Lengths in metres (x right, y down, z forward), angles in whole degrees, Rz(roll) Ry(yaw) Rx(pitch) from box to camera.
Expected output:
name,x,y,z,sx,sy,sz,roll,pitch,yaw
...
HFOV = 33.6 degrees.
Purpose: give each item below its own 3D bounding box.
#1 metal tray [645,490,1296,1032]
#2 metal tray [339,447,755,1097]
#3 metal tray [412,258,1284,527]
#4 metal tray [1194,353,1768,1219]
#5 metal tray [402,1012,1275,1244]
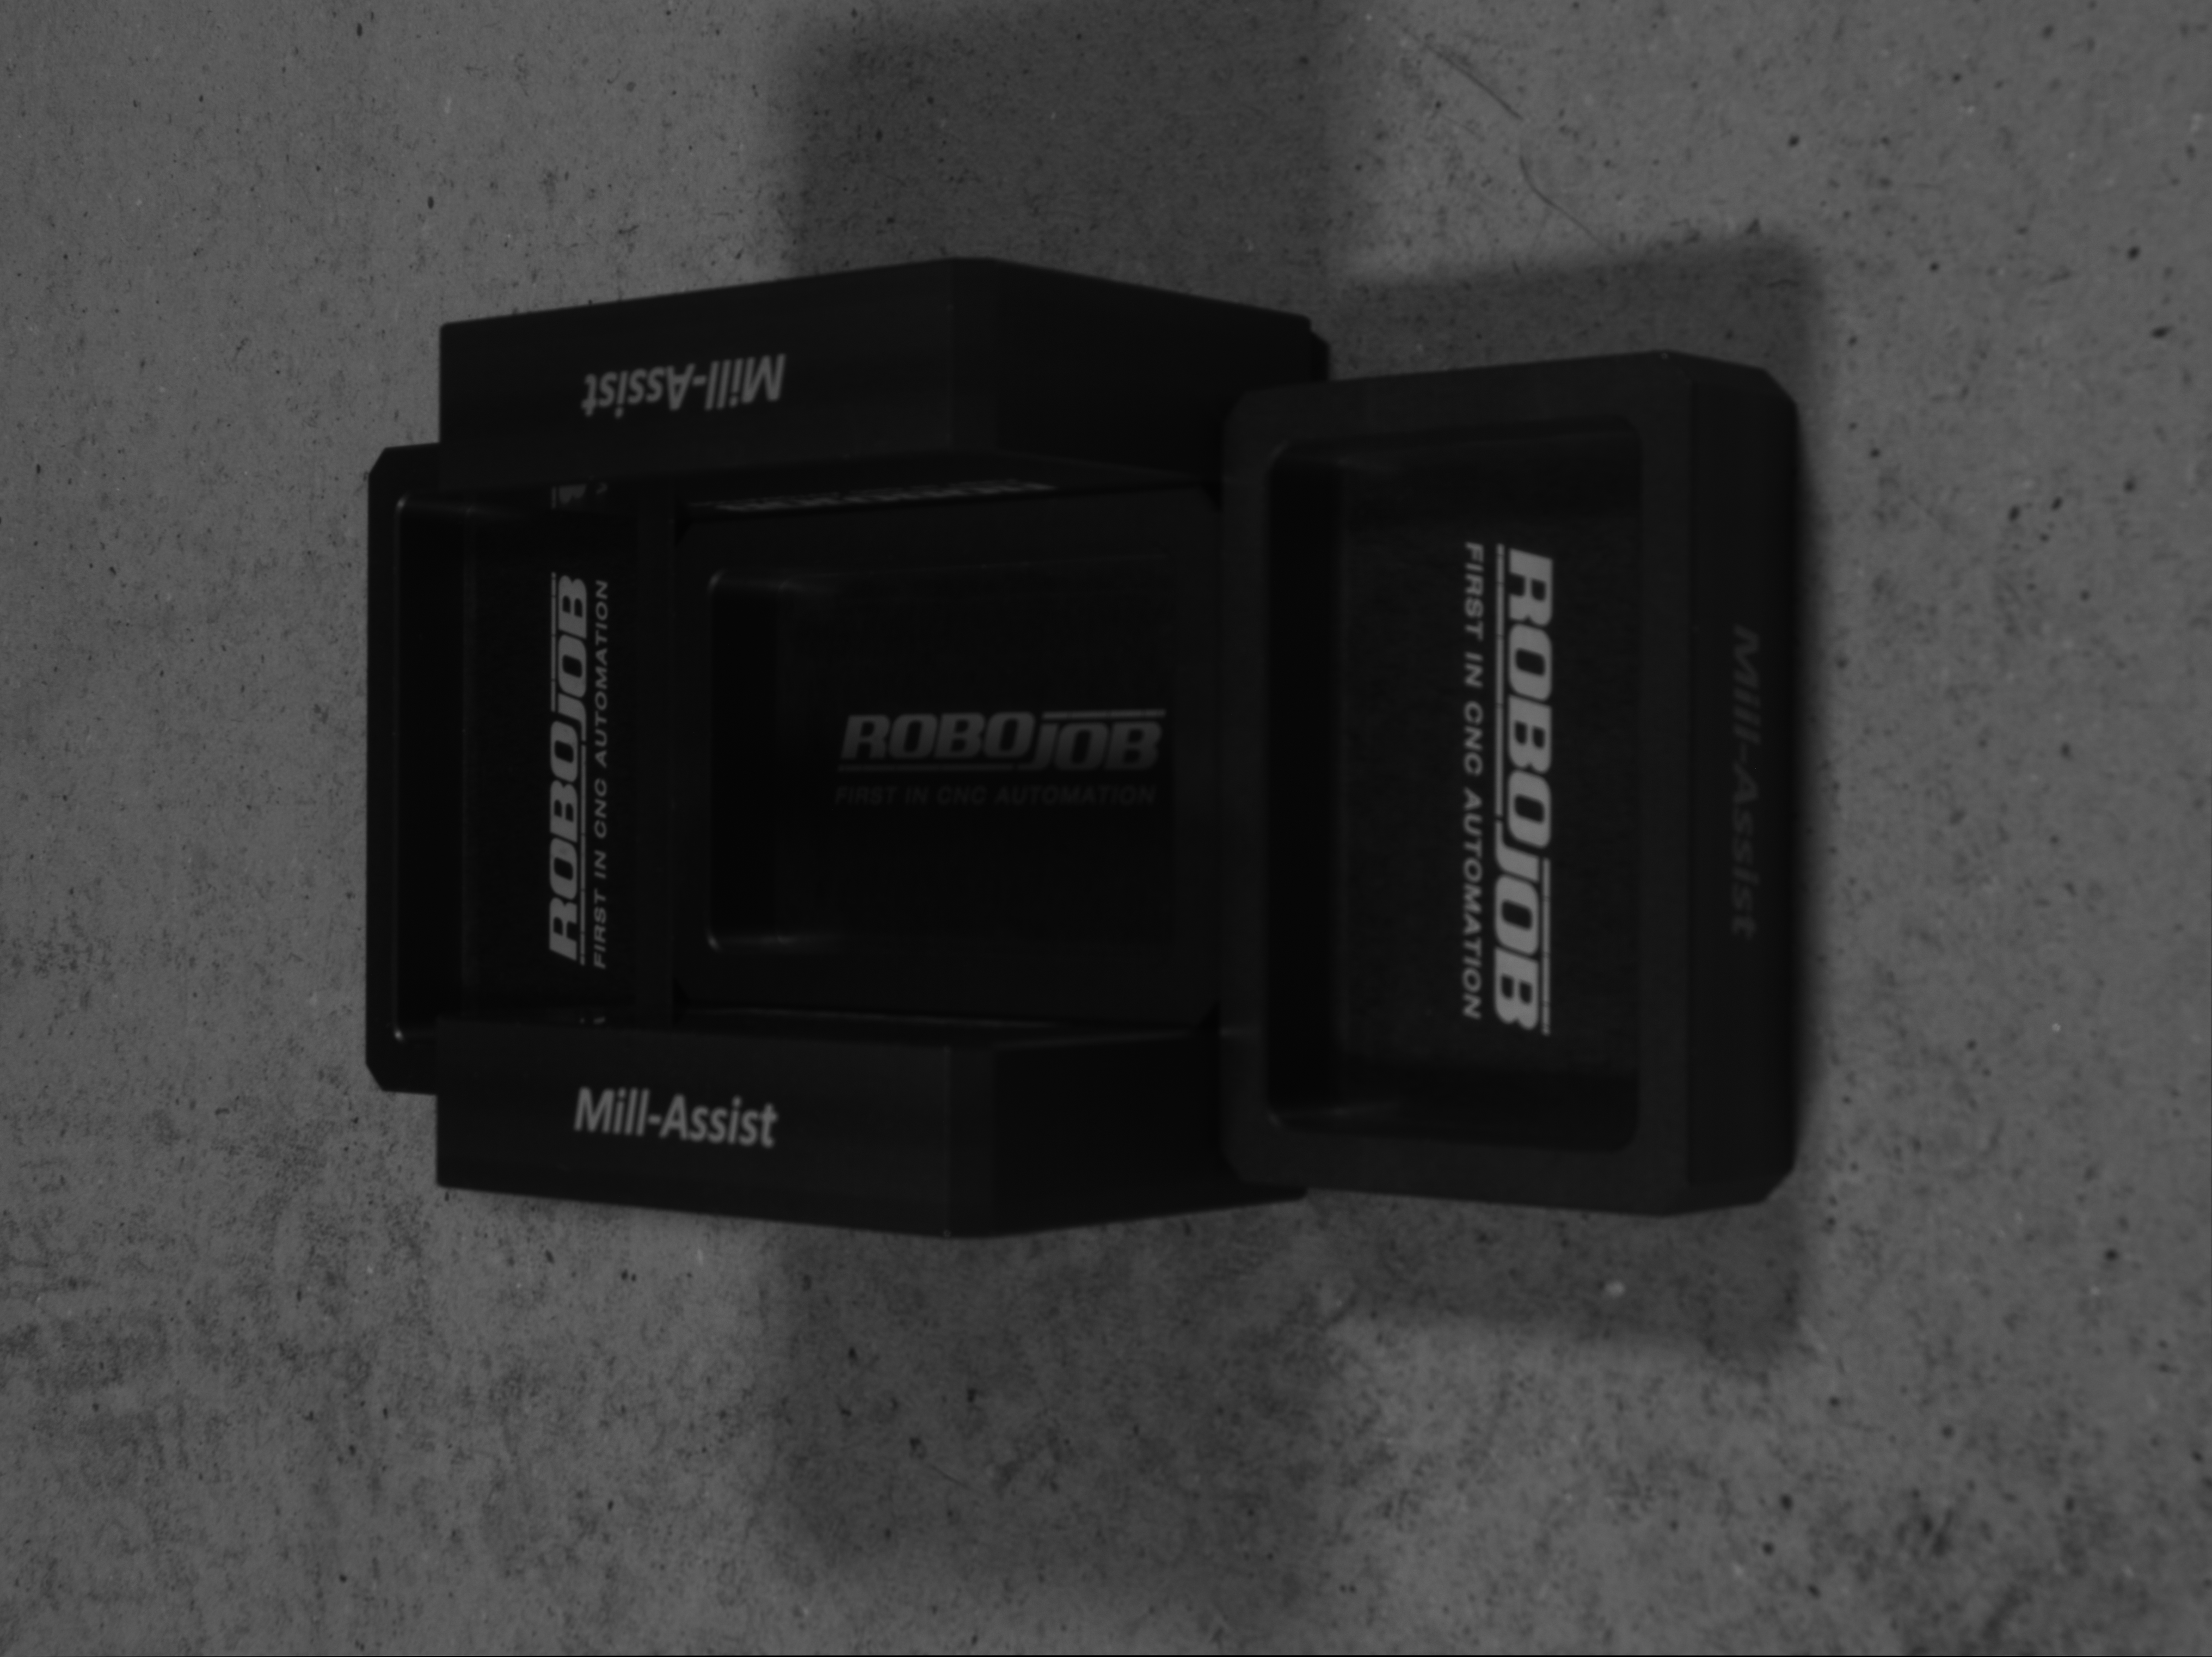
name,x,y,z,sx,sy,sz,roll,pitch,yaw
metal tray,-0.027,-0.012,0.655,0.130,0.030,0.090,1,90,39
metal tray,-0.111,-0.011,0.724,0.090,0.030,0.130,1,90,39
metal tray,-0.045,-0.072,0.632,0.130,0.090,0.030,0,90,39
metal tray,0.059,-0.007,0.585,0.090,0.030,0.130,1,90,39
metal tray,-0.047,0.048,0.631,0.130,0.090,0.030,0,90,39
